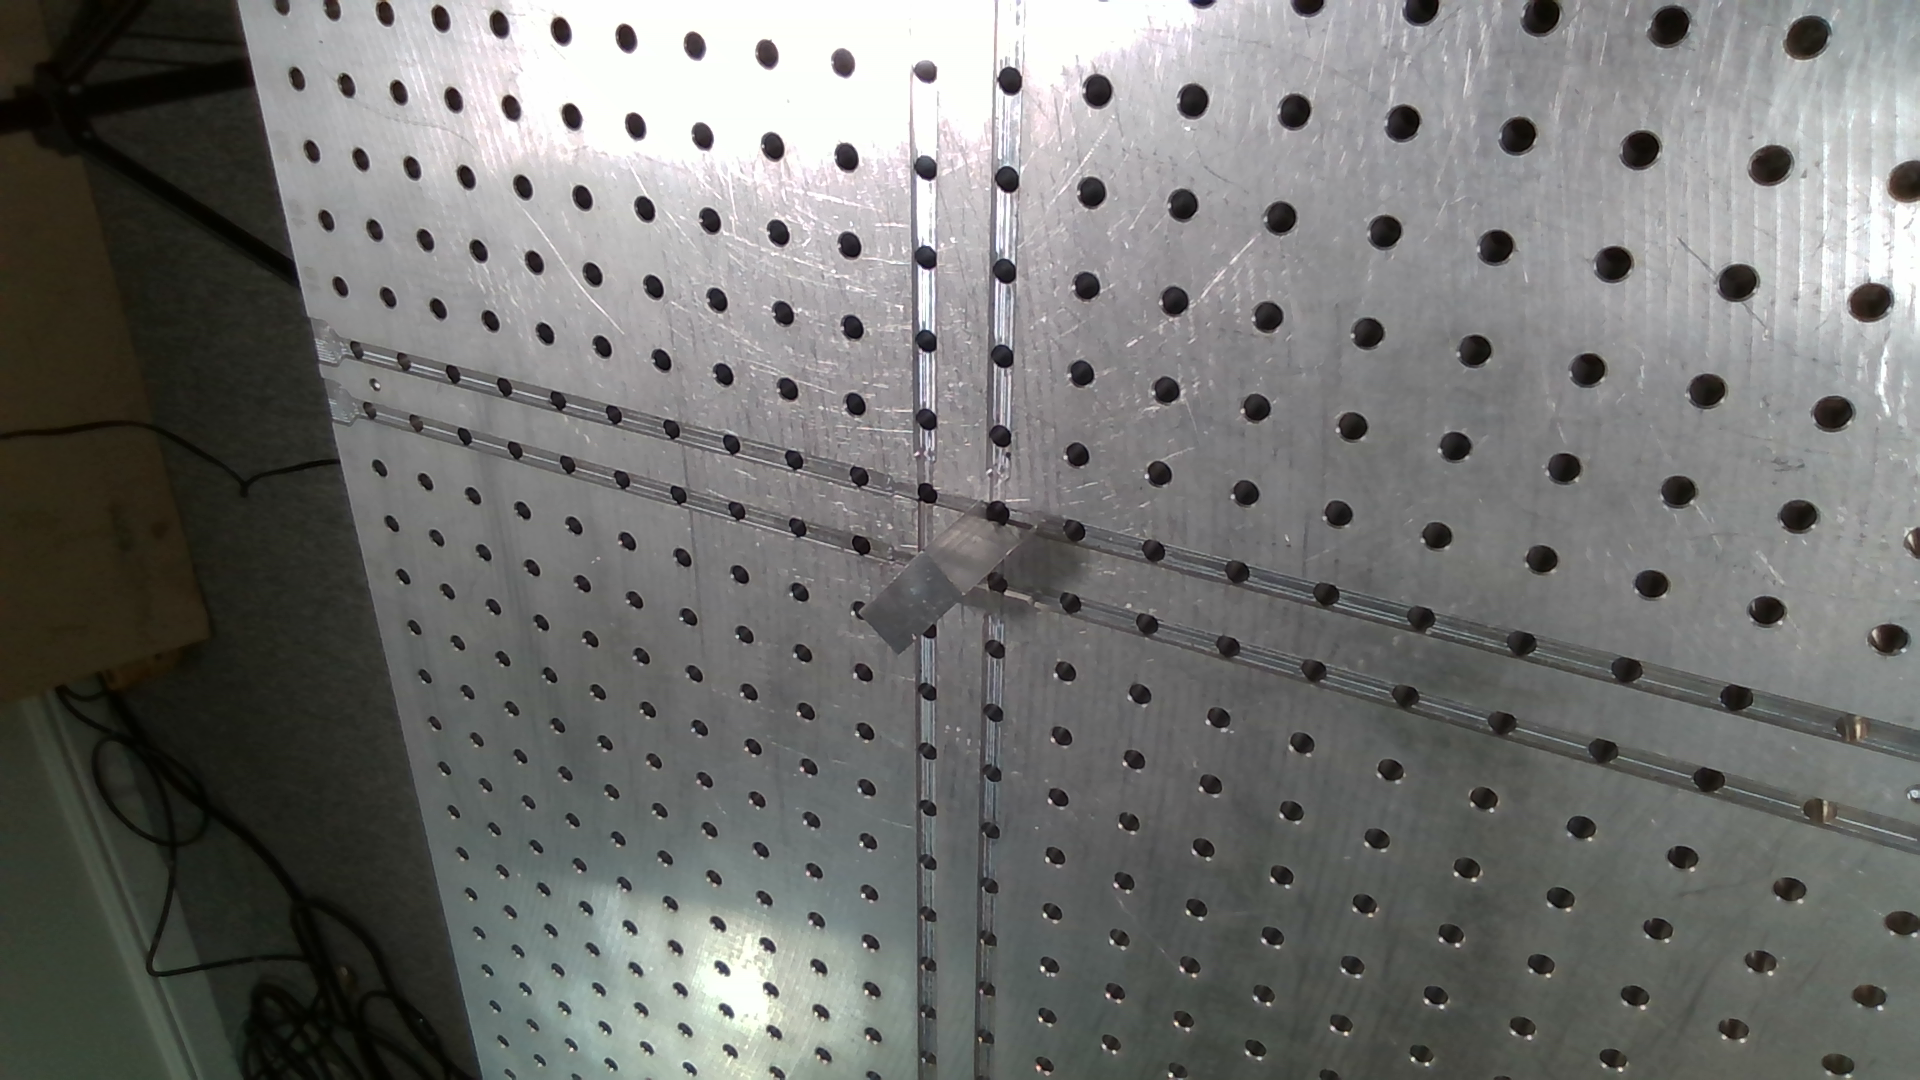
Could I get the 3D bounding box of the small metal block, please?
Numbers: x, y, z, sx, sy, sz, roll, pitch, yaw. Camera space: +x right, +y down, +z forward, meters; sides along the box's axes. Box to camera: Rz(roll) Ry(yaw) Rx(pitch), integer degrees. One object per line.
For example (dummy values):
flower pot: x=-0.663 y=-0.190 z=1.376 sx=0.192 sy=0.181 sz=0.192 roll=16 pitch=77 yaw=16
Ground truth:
small metal block: x=-0.009 y=0.015 z=0.580 sx=0.025 sy=0.050 sz=0.050 roll=47 pitch=129 yaw=1
